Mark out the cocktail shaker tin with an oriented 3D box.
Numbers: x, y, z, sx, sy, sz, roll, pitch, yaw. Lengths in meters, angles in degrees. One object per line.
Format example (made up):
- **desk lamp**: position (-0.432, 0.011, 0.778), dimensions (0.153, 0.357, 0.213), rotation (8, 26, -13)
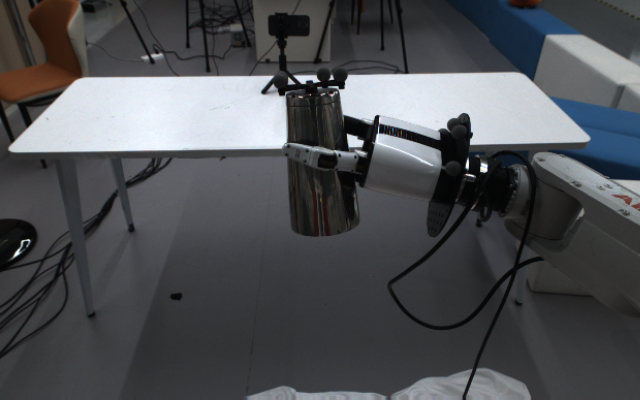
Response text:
- **cocktail shaker tin**: position (-0.001, -0.050, 0.610), dimensions (0.093, 0.170, 0.093), rotation (-6, 19, 2)
